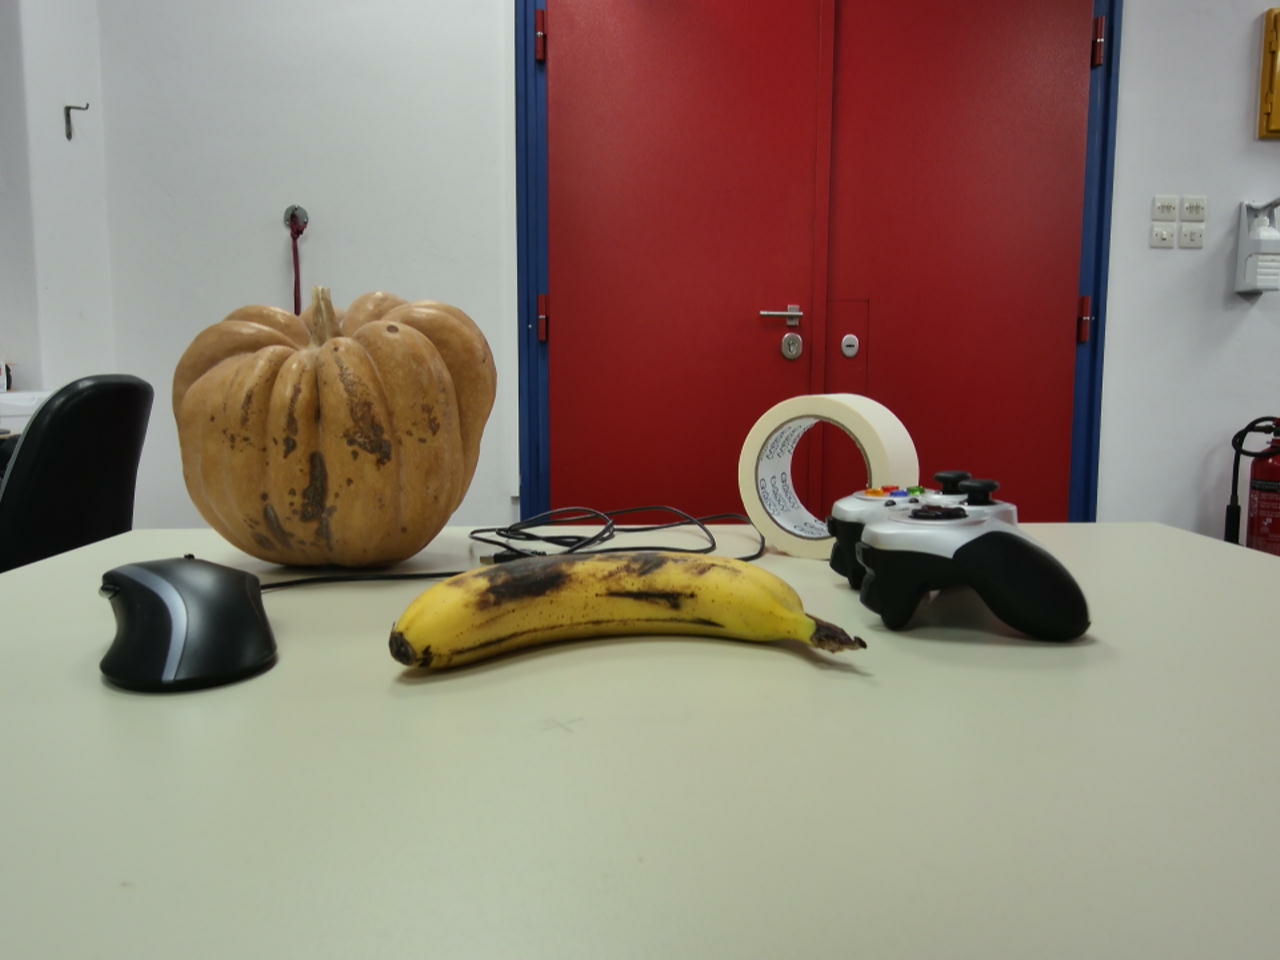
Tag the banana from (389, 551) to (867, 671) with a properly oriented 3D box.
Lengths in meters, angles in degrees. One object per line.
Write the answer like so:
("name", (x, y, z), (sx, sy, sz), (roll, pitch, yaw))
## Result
("banana", (-0.008, 0.056, 0.437), (0.187, 0.039, 0.094), (0, 4, -3))
